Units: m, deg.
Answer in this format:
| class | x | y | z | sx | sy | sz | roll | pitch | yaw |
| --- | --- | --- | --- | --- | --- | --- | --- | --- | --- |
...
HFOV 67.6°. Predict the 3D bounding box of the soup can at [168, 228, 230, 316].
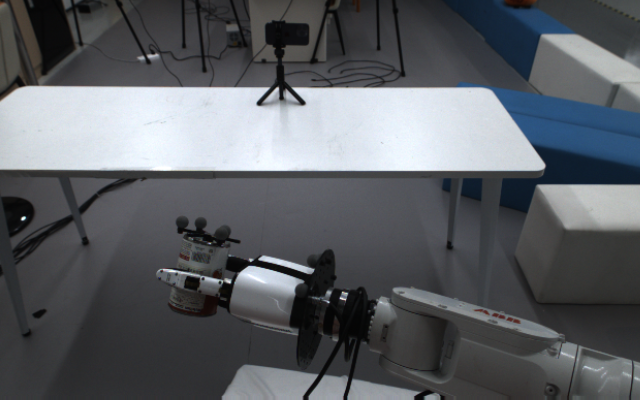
| class | x | y | z | sx | sy | sz | roll | pitch | yaw |
| --- | --- | --- | --- | --- | --- | --- | --- | --- | --- |
| soup can | -0.166 | 0.105 | 0.674 | 0.067 | 0.101 | 0.067 | 13 | 1 | 0 |
